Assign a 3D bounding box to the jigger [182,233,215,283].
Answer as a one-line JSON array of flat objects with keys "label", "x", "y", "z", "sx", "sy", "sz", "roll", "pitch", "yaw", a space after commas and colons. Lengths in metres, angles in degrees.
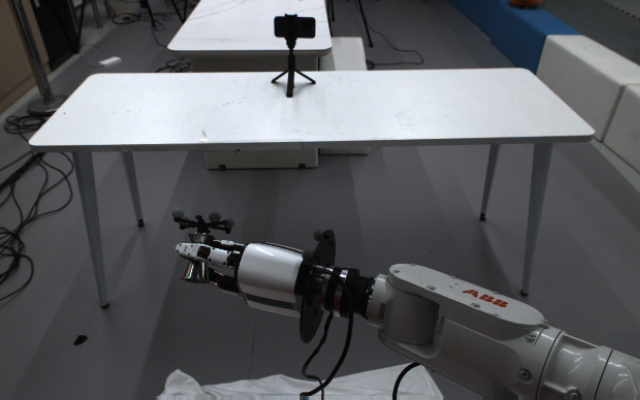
[{"label": "jigger", "x": -0.179, "y": 0.085, "z": 0.711, "sx": 0.043, "sy": 0.043, "sz": 0.071, "roll": 3, "pitch": 72, "yaw": 1}]
